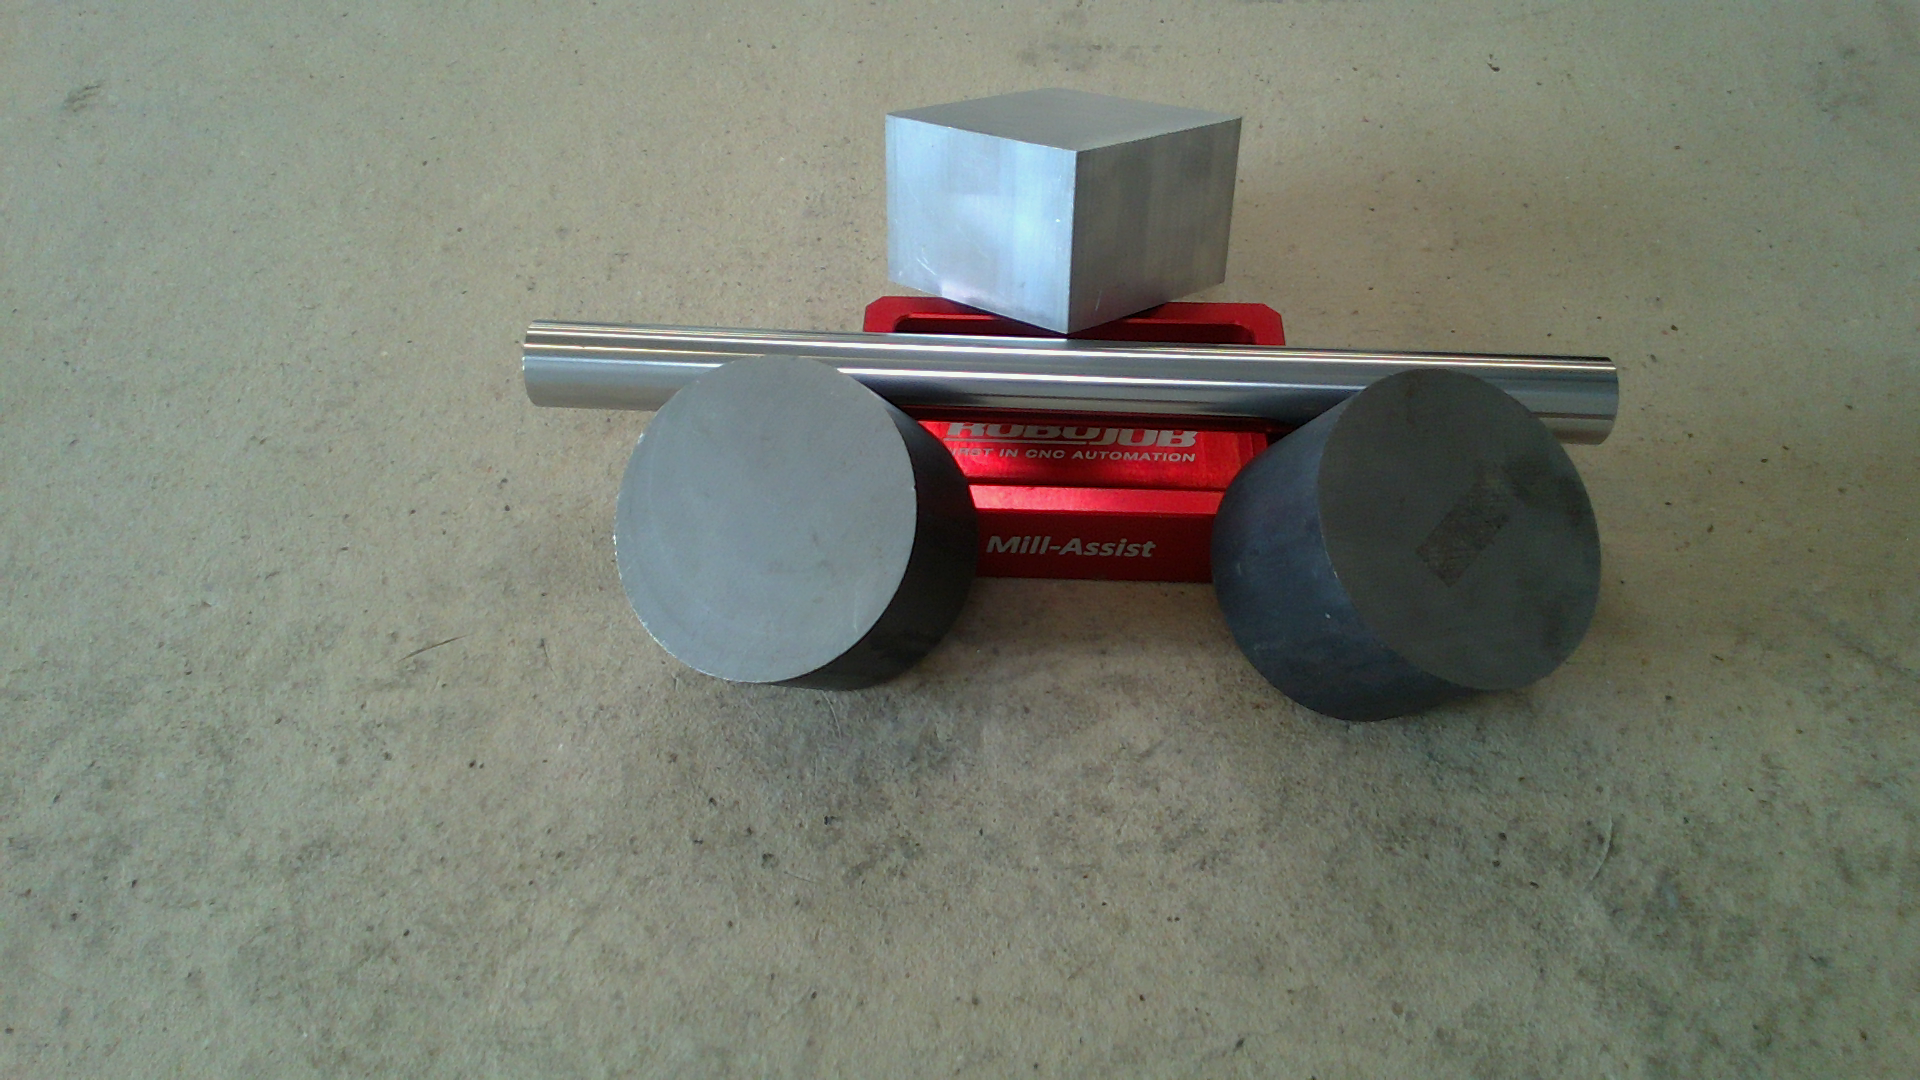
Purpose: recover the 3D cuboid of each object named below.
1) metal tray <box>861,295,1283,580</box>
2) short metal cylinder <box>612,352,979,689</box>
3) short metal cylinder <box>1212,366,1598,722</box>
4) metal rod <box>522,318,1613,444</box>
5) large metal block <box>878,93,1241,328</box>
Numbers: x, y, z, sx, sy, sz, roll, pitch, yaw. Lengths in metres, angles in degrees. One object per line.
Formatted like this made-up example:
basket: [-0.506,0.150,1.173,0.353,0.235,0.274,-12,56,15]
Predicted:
metal tray: [0.033,-0.033,0.417,0.130,0.030,0.090,1,50,1]
short metal cylinder: [-0.041,-0.003,0.353,0.080,0.050,0.080,-3,81,17]
short metal cylinder: [0.112,0.003,0.352,0.080,0.050,0.080,6,71,-18]
metal rod: [0.028,-0.045,0.391,0.300,0.025,0.025,2,50,2]
large metal block: [0.031,-0.109,0.440,0.080,0.050,0.080,24,35,39]
